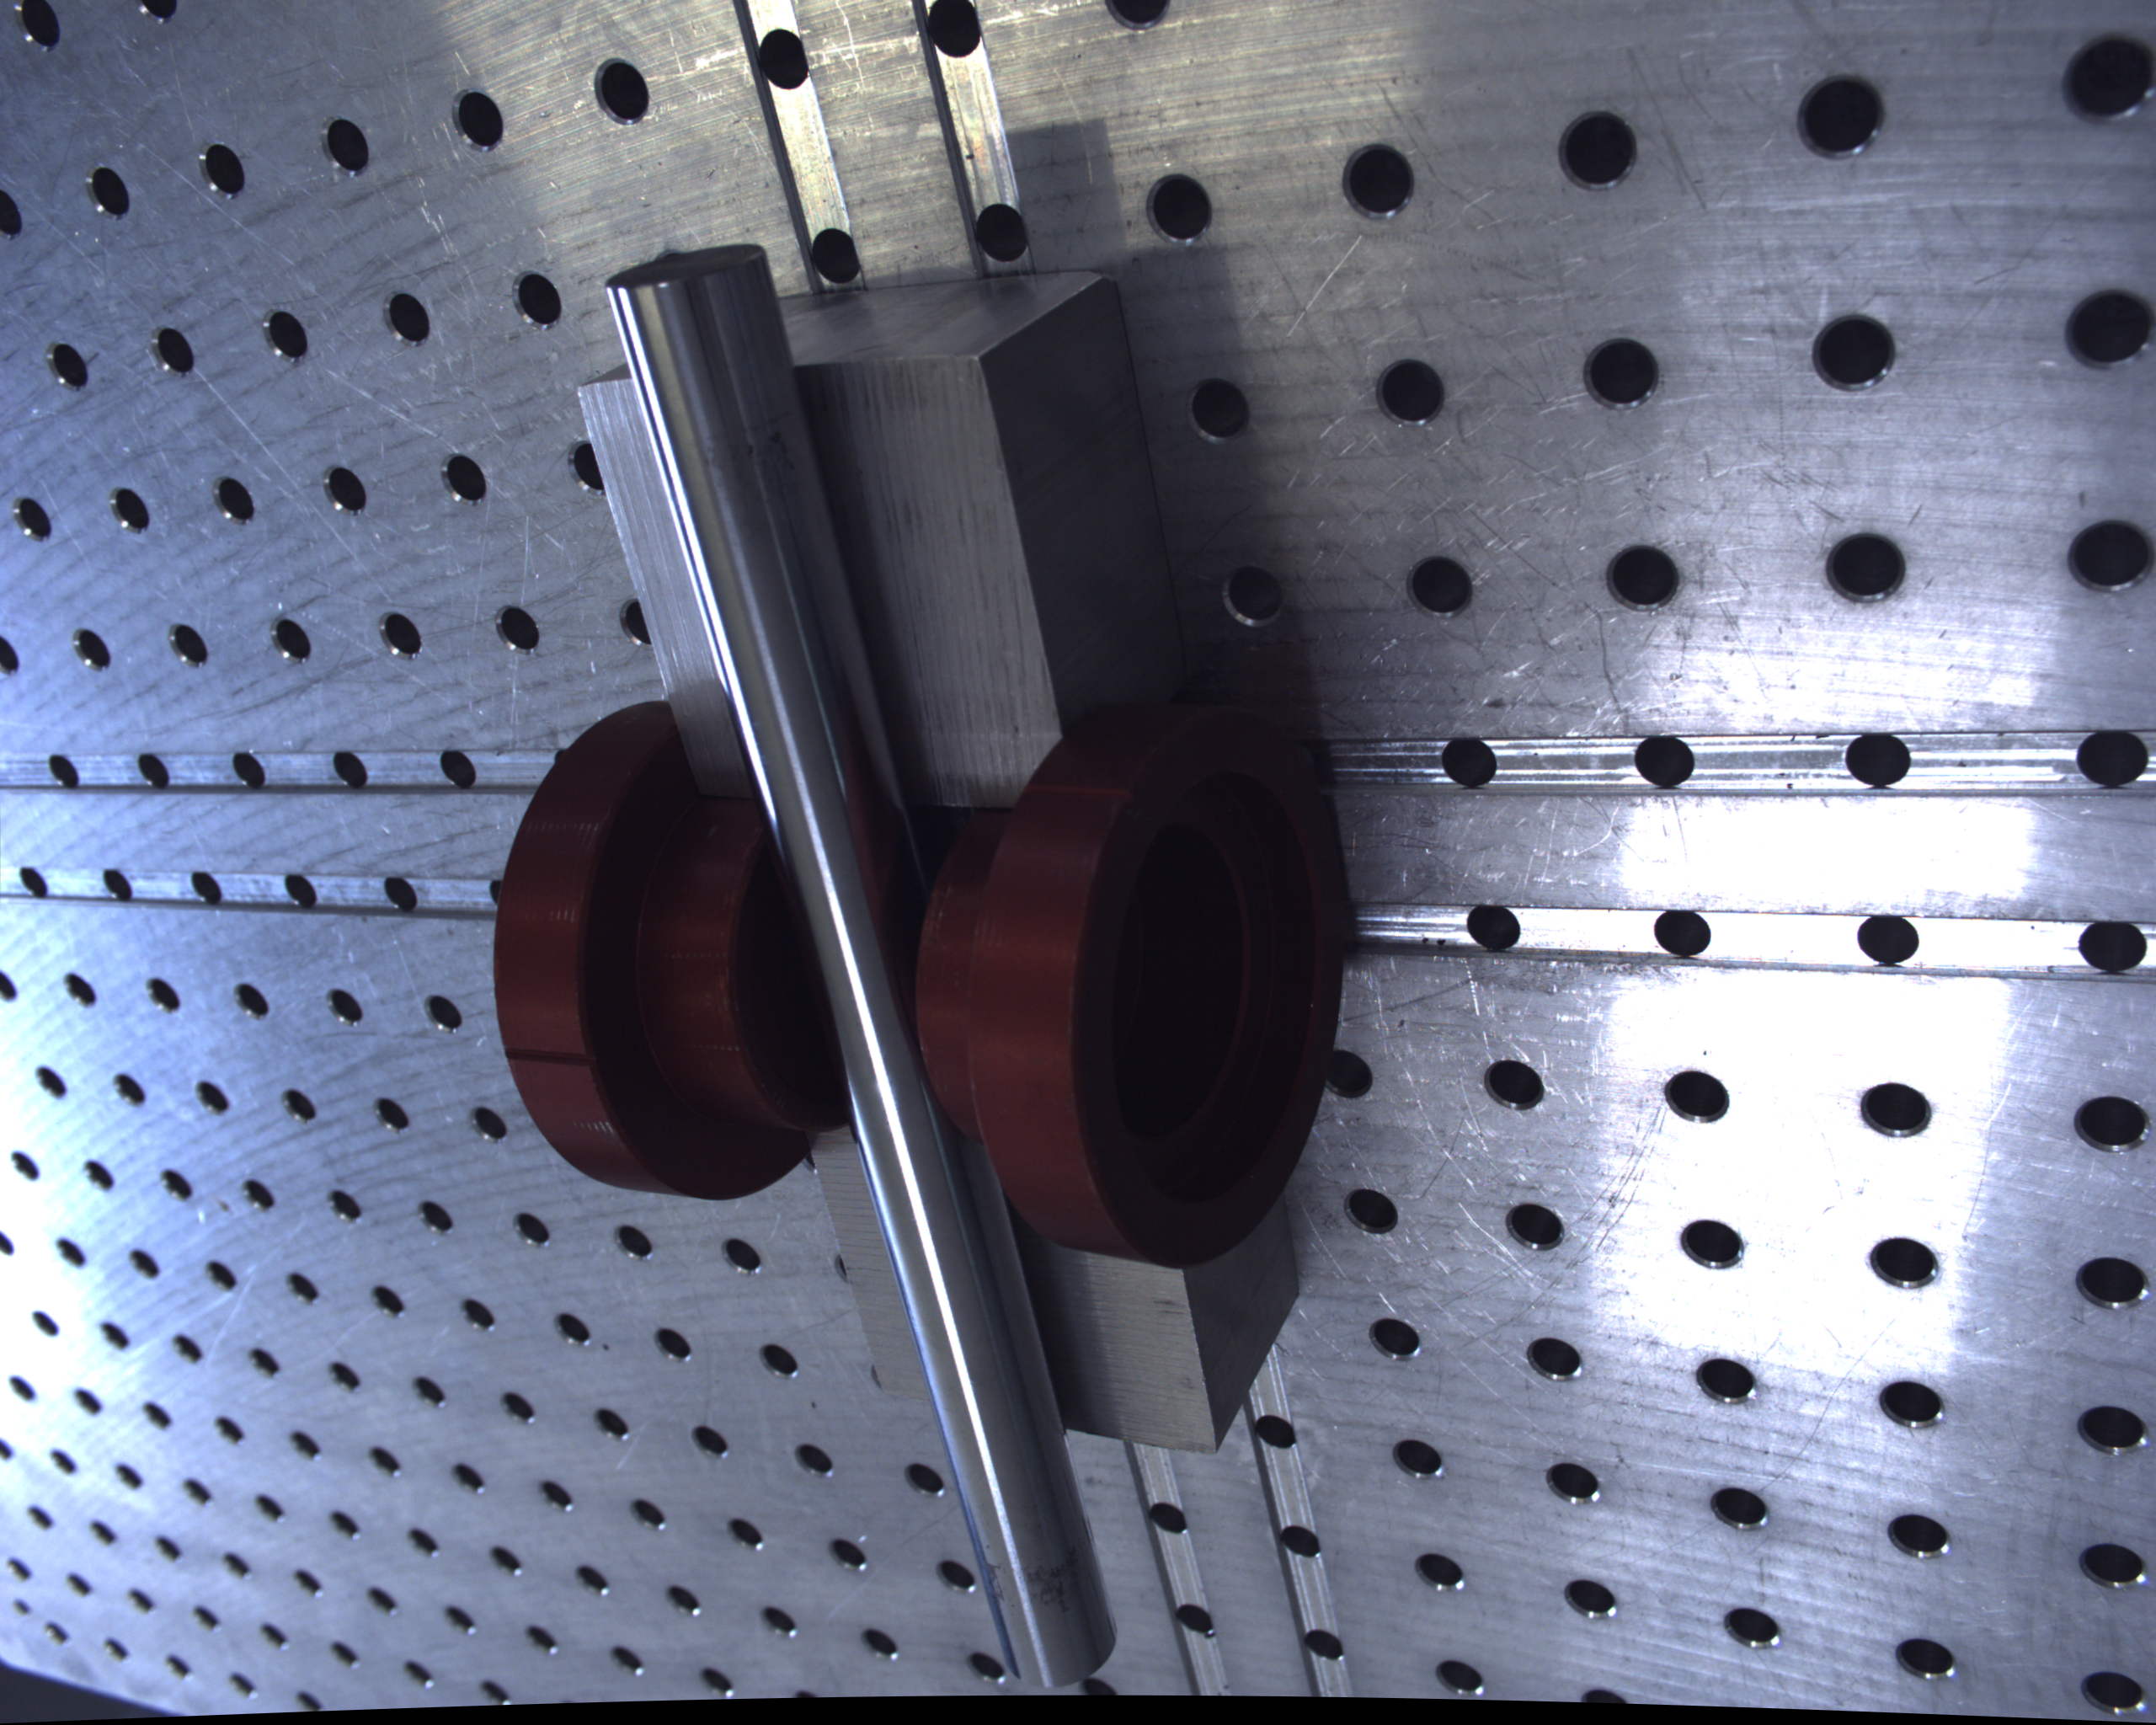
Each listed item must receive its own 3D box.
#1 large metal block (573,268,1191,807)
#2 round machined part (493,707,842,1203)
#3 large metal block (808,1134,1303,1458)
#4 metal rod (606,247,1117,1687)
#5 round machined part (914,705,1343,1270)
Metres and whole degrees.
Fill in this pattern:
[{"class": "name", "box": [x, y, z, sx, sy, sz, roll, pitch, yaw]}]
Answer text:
[{"class": "large metal block", "box": [-0.033, -0.057, 0.376, 0.080, 0.050, 0.079, 2, 120, 27]}, {"class": "round machined part", "box": [-0.064, 0.017, 0.408, 0.042, 0.098, 0.097, 2, 119, 27]}, {"class": "large metal block", "box": [-0.004, 0.072, 0.441, 0.080, 0.050, 0.079, 3, 120, 27]}, {"class": "metal rod", "box": [-0.032, 0.039, 0.387, 0.025, 0.025, 0.298, 2, 120, 27]}, {"class": "round machined part", "box": [0.008, 0.020, 0.372, 0.042, 0.099, 0.097, 5, 121, 32]}]
